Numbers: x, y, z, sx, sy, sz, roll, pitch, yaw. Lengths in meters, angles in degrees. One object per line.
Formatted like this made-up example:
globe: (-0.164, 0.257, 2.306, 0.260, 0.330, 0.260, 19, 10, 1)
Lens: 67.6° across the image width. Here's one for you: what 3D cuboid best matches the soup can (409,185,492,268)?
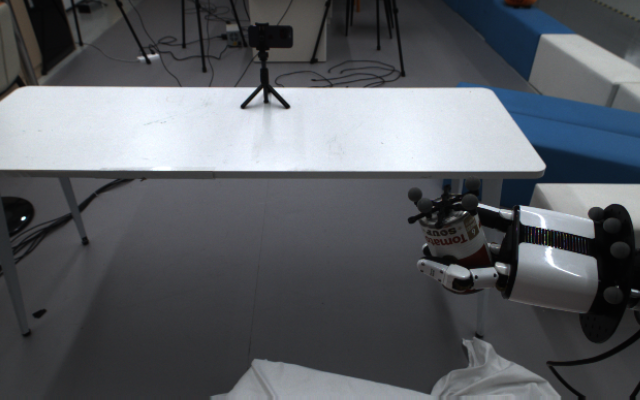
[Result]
soup can: (0.167, 0.051, 0.580, 0.067, 0.101, 0.067, -21, 24, 10)
